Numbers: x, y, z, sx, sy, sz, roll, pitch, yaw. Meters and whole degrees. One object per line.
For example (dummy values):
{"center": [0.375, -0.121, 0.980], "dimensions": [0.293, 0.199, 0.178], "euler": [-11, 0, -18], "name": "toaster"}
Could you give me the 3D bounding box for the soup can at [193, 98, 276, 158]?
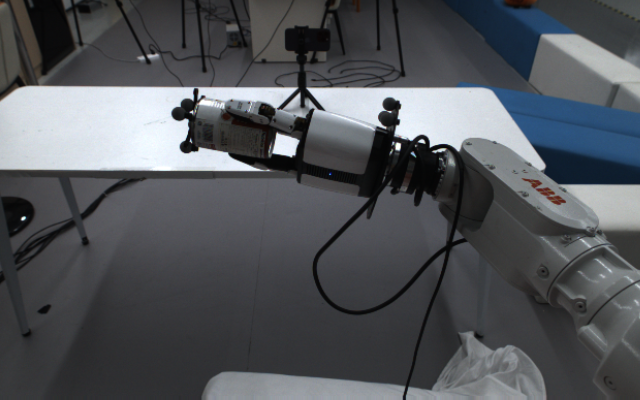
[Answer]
{"center": [-0.110, -0.094, 0.643], "dimensions": [0.101, 0.067, 0.067], "euler": [10, 35, -1], "name": "soup can"}
